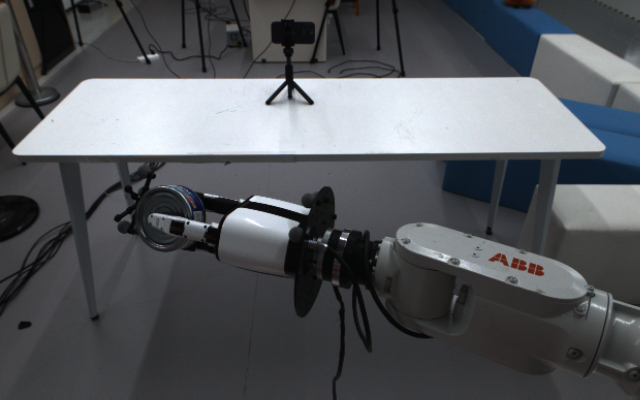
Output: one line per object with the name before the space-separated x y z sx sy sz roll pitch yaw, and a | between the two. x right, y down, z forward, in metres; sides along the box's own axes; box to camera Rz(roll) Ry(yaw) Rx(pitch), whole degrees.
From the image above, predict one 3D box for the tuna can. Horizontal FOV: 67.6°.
tuna can | -0.191 0.023 0.623 0.085 0.085 0.034 12 5 14
